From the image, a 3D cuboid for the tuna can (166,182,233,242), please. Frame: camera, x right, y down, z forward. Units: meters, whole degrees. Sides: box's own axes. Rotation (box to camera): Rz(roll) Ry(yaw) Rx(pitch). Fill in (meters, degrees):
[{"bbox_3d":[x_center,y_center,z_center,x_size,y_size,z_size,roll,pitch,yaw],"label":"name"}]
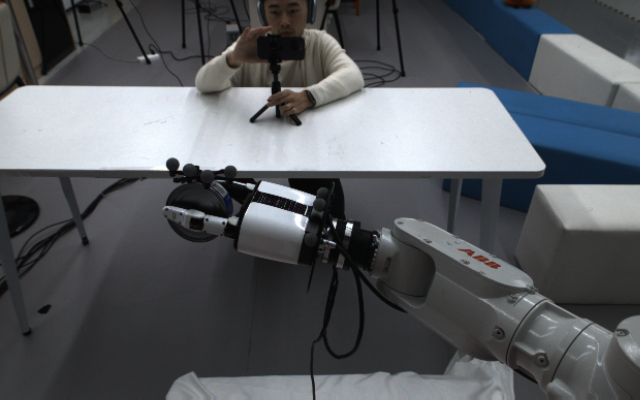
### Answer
[{"bbox_3d":[-0.163,0.013,0.662,0.085,0.085,0.034,6,17,5],"label":"tuna can"}]
